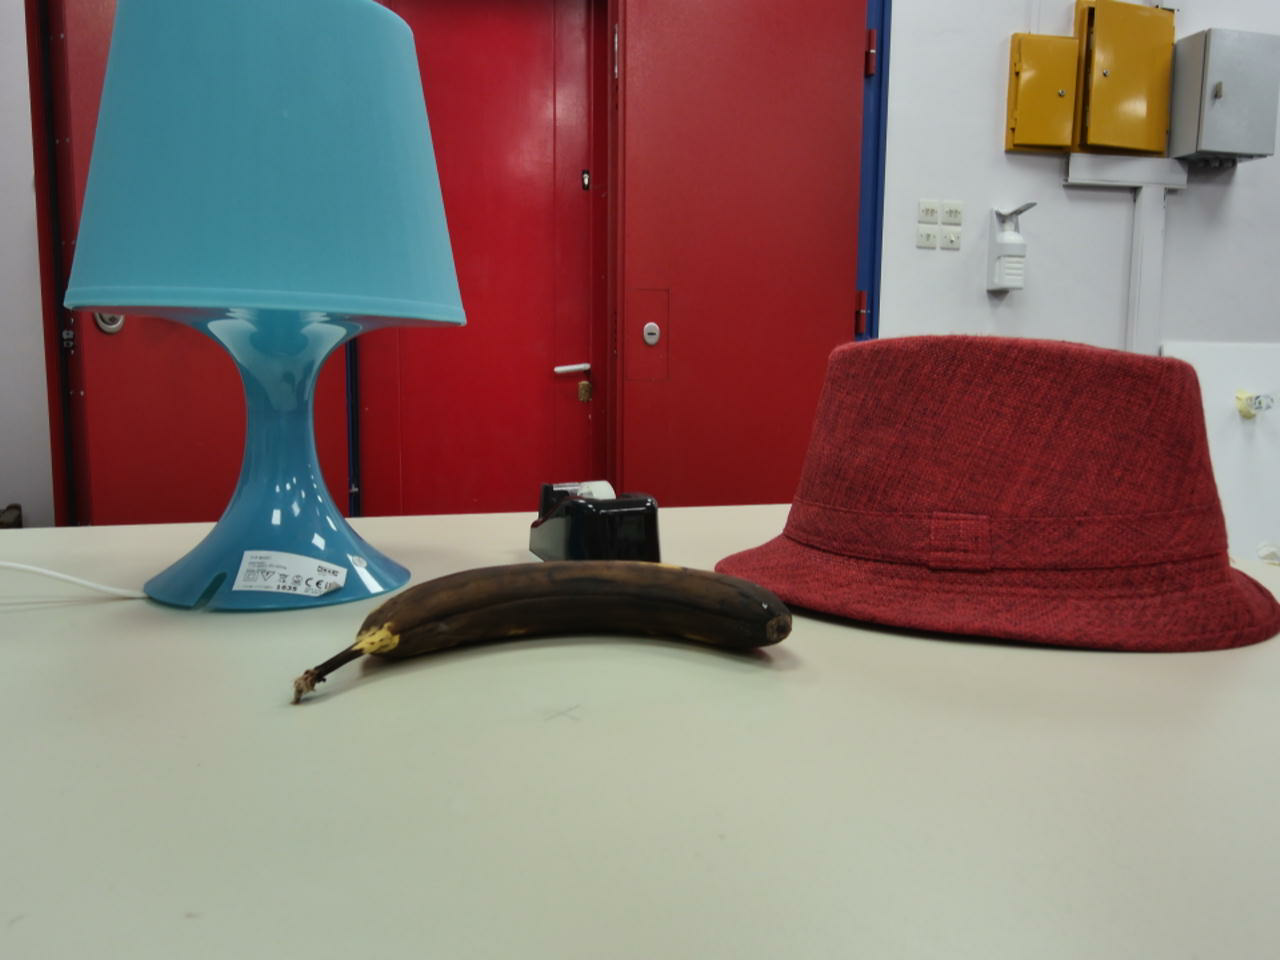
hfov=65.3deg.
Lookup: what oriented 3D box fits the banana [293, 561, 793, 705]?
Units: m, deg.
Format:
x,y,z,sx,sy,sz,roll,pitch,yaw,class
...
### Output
x,y,z,sx,sy,sz,roll,pitch,yaw,class
-0.037,0.054,0.410,0.188,0.033,0.091,-1,4,-12,banana
